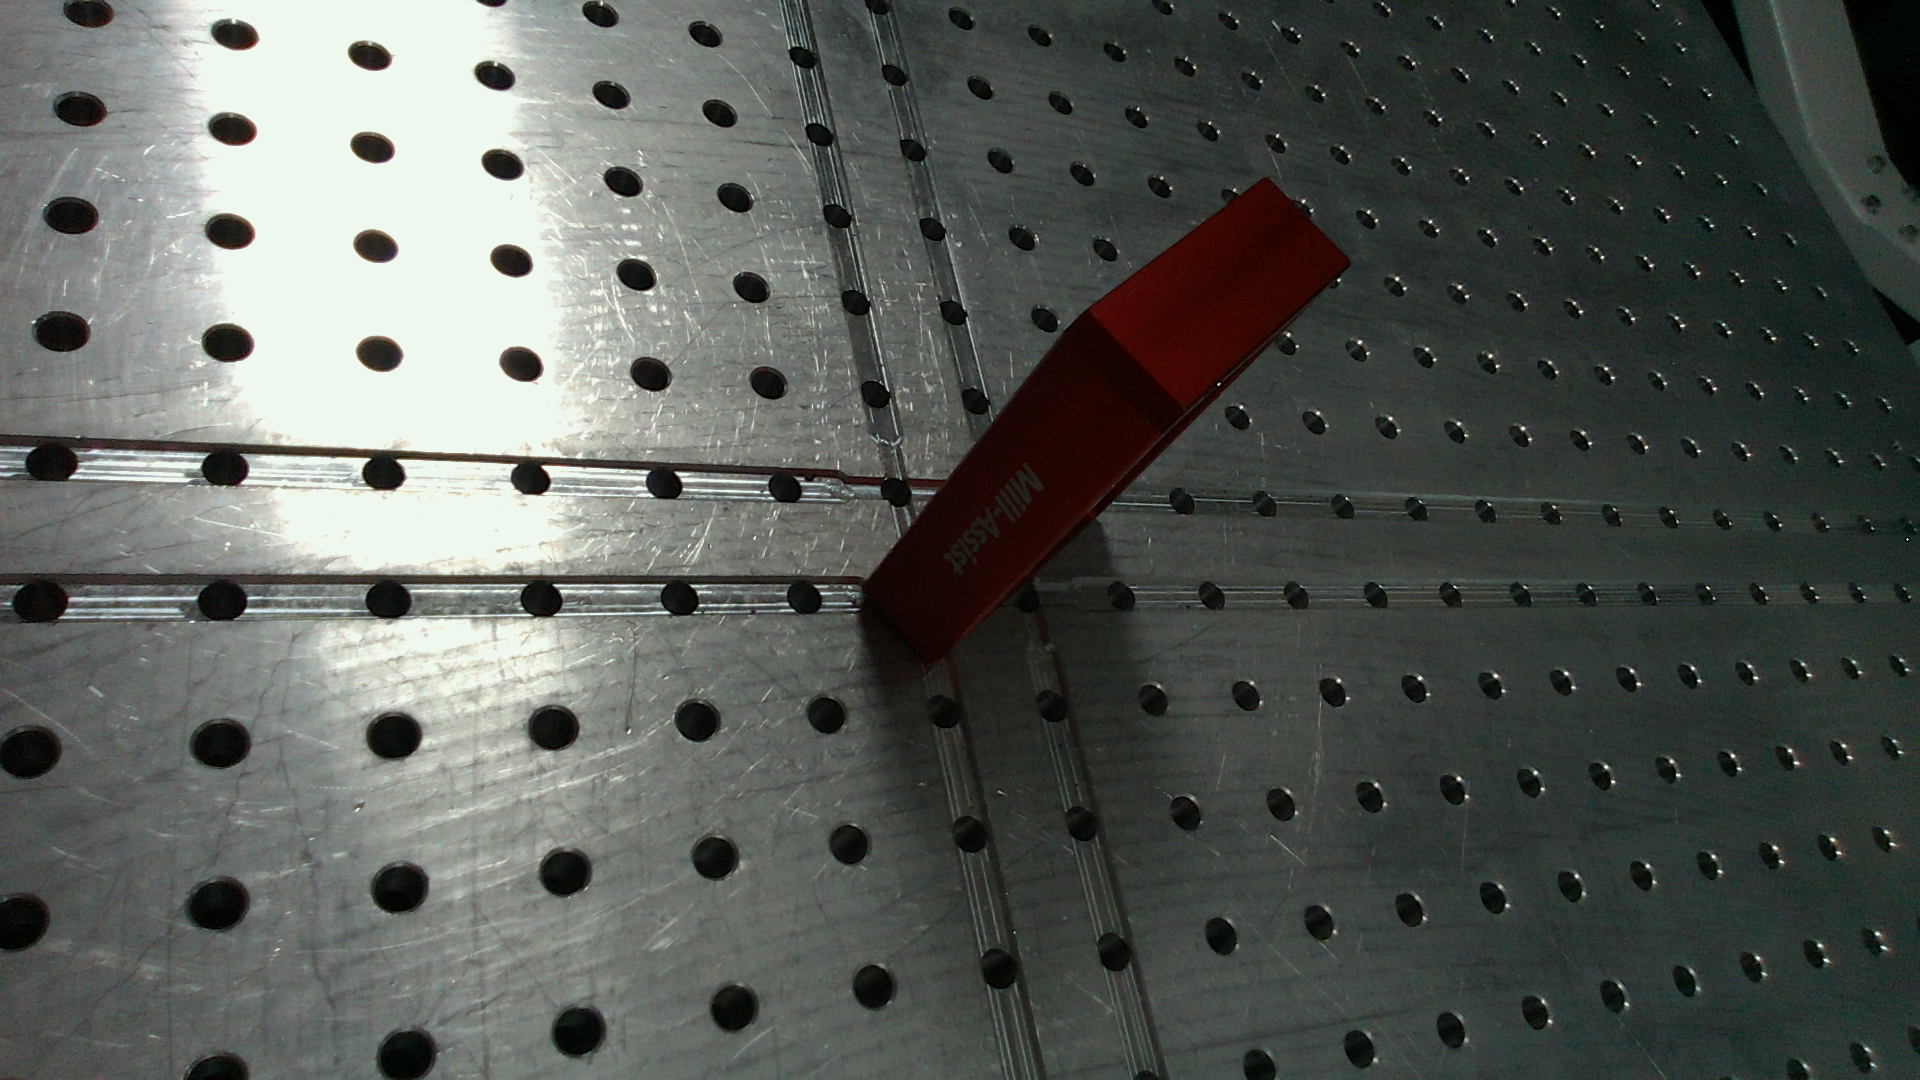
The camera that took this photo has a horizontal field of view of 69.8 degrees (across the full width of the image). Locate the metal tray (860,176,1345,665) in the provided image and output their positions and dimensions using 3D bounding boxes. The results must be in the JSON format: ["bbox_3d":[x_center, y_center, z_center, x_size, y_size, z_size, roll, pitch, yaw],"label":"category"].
[{"bbox_3d":[0.033,-0.027,0.360,0.030,0.130,0.090,46,51,5],"label":"metal tray"}]
